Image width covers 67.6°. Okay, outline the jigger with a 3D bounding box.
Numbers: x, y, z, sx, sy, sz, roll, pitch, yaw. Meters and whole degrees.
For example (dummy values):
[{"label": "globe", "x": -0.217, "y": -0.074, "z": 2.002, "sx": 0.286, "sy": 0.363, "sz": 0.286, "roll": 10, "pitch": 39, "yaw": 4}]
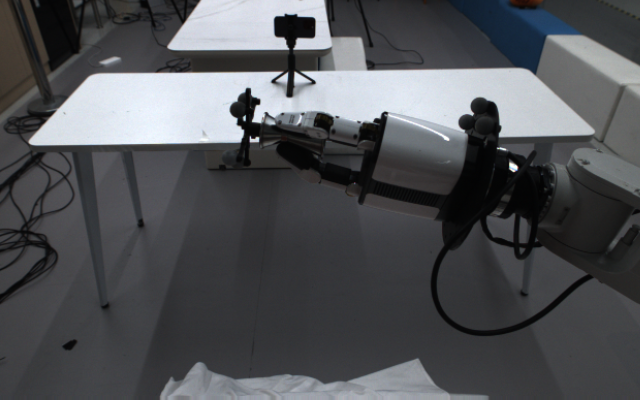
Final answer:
[{"label": "jigger", "x": -0.021, "y": -0.072, "z": 0.521, "sx": 0.071, "sy": 0.043, "sz": 0.043, "roll": 8, "pitch": 35, "yaw": 2}]
